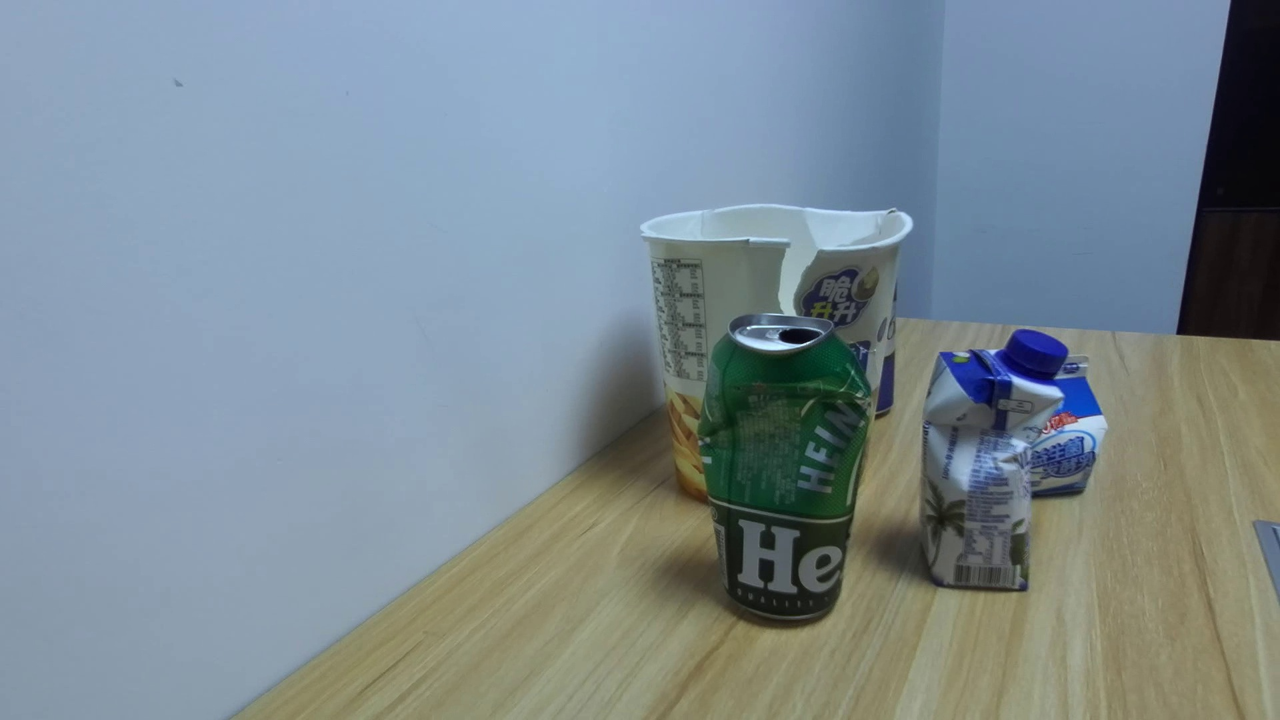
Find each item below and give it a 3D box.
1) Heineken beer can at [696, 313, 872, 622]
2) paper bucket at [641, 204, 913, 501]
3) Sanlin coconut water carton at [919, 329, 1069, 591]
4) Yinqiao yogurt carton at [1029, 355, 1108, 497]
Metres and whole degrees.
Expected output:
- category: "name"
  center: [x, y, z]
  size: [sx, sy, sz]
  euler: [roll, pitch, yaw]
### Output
- category: "Heineken beer can"
  center: [0.074, 0.058, 0.379]
  size: [0.066, 0.164, 0.077]
  euler: [-14, 24, -22]
- category: "paper bucket"
  center: [0.093, -0.007, 0.513]
  size: [0.201, 0.197, 0.146]
  euler: [12, 26, 41]
- category: "Sanlin coconut water carton"
  center: [0.192, 0.055, 0.394]
  size: [0.070, 0.144, 0.061]
  euler: [1, 21, 12]
- category: "Yinqiao yogurt carton"
  center: [0.276, 0.040, 0.495]
  size: [0.074, 0.097, 0.080]
  euler: [-5, 26, -3]
